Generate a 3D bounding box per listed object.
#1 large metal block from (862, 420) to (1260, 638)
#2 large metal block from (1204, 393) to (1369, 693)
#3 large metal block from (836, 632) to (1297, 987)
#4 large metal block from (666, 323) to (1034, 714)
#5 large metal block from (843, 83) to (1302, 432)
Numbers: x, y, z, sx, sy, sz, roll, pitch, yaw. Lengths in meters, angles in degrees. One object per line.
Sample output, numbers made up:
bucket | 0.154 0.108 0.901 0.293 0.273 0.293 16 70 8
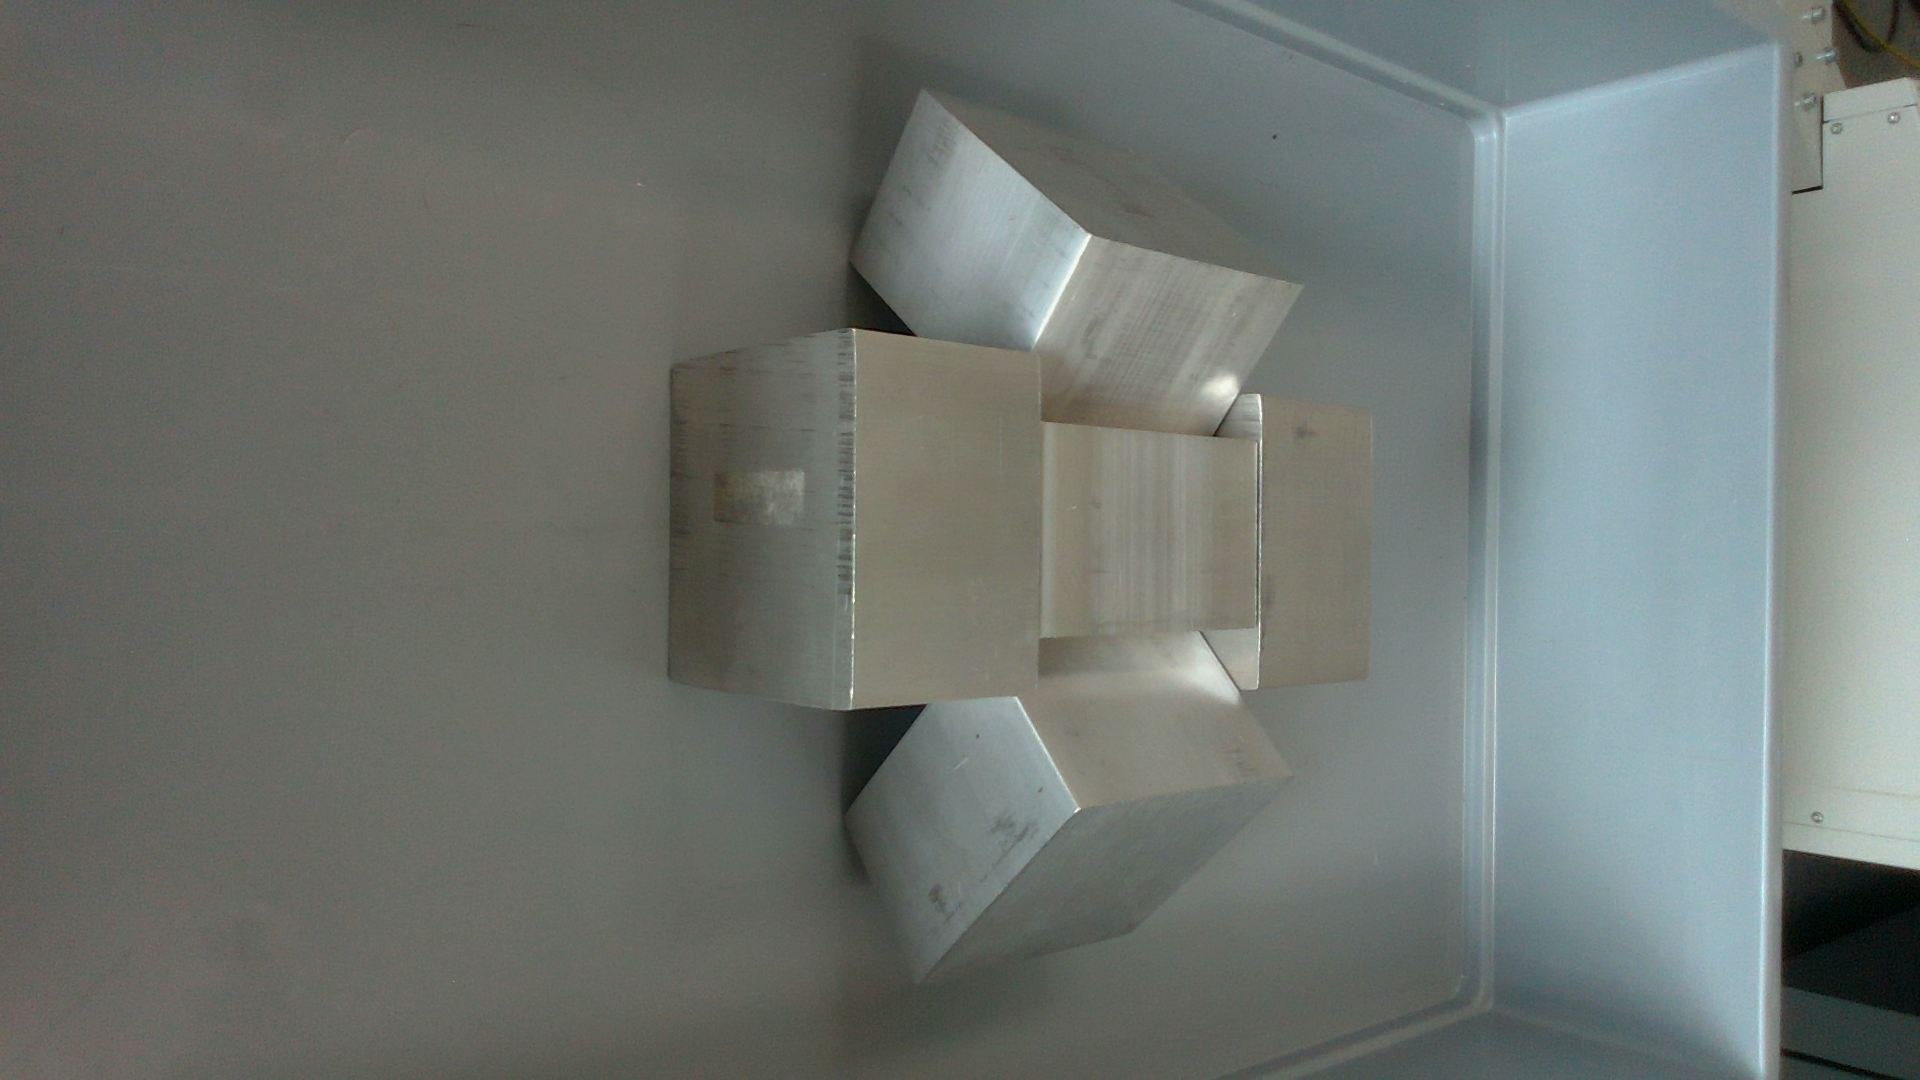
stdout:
large metal block | 0.024 -0.002 0.372 0.080 0.080 0.050 1 89 -40
large metal block | 0.074 0.001 0.414 0.050 0.080 0.080 1 89 -40
large metal block | 0.027 0.069 0.366 0.080 0.080 0.050 1 47 -41
large metal block | -0.028 -0.004 0.329 0.050 0.080 0.080 1 90 -40
large metal block | 0.028 -0.073 0.368 0.080 0.080 0.050 2 126 -40
